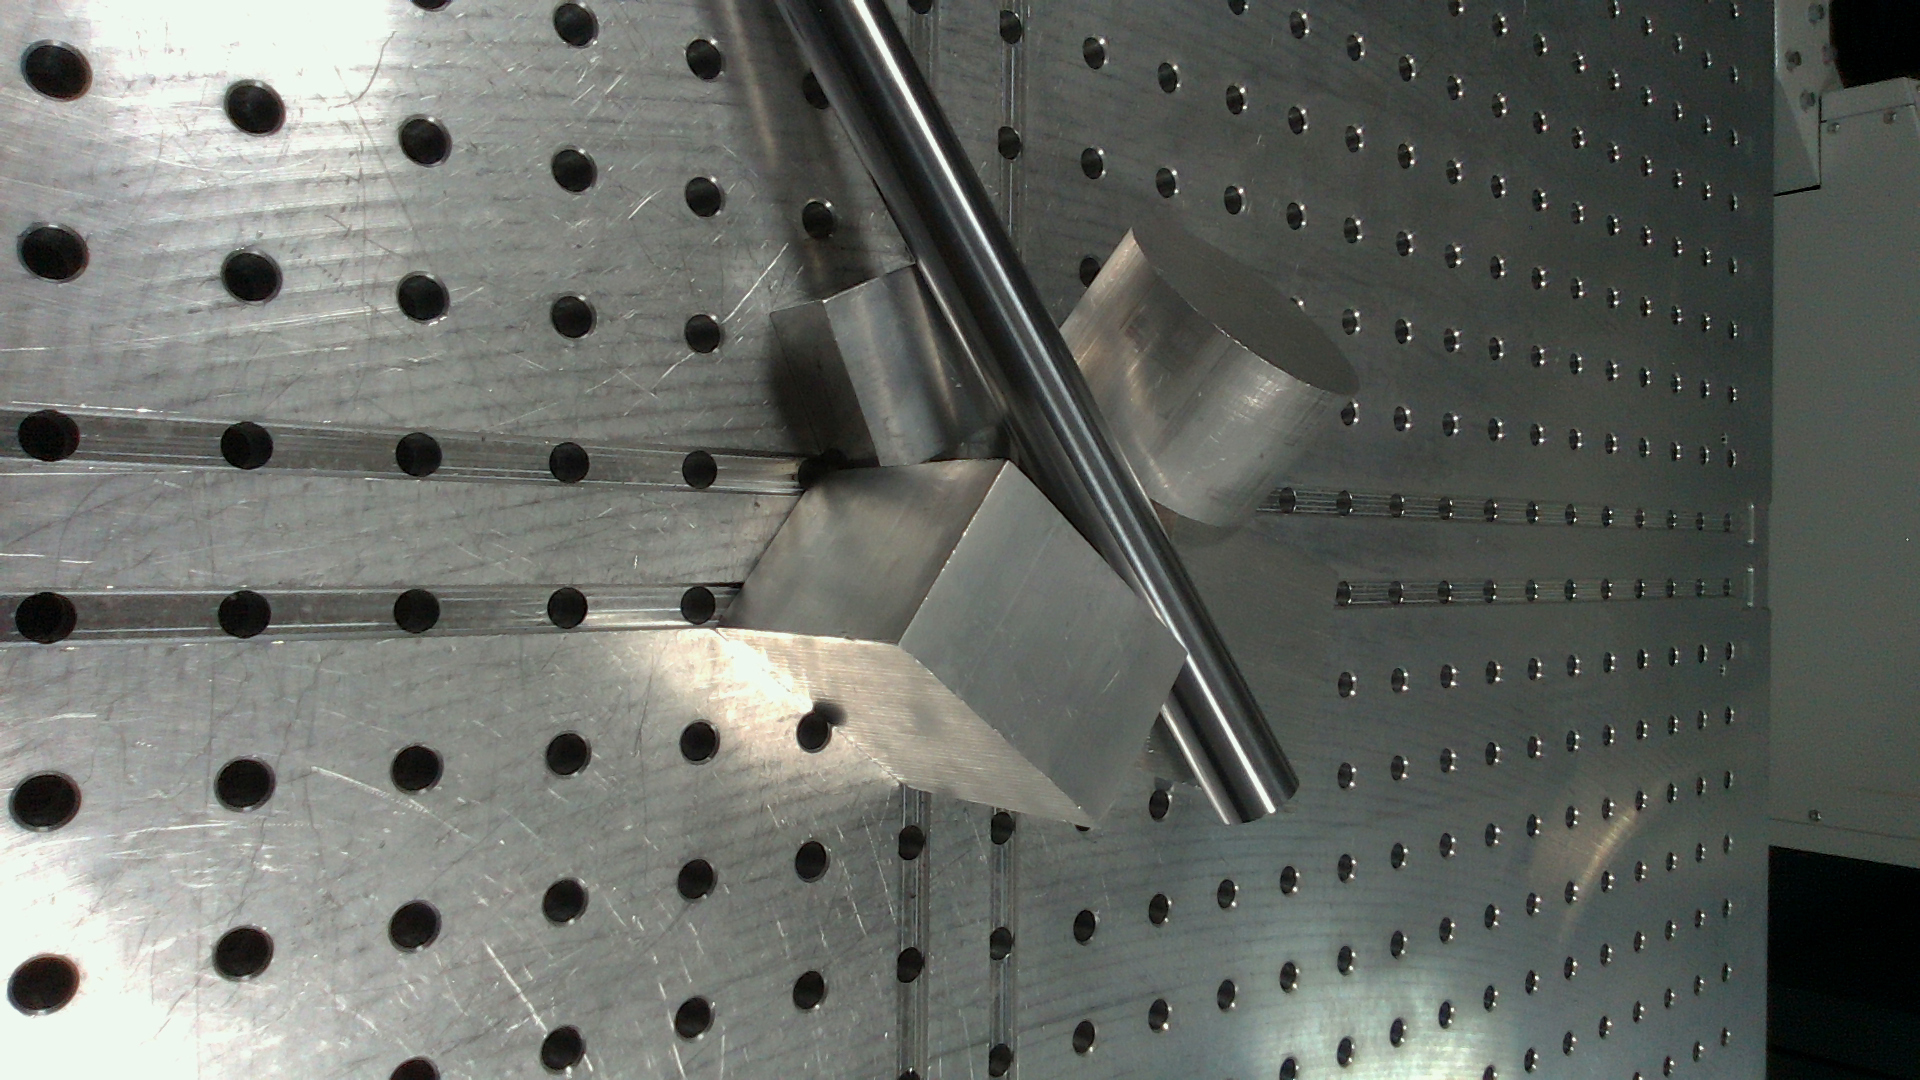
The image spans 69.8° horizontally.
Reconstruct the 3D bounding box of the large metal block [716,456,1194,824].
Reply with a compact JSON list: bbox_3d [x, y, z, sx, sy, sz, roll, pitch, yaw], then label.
[{"bbox_3d":[-0.001,0.025,0.355,0.080,0.080,0.050,45,63,-31],"label":"large metal block"}]

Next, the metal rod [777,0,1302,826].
[{"bbox_3d":[0.012,-0.057,0.362,0.025,0.025,0.300,-35,100,-34],"label":"metal rod"}]

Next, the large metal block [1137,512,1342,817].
[{"bbox_3d":[0.069,0.037,0.432,0.080,0.050,0.080,22,76,-38],"label":"large metal block"}]

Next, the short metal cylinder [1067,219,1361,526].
[{"bbox_3d":[0.070,-0.050,0.406,0.080,0.080,0.050,11,126,-39],"label":"short metal cylinder"}]

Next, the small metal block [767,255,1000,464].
[{"bbox_3d":[-0.018,-0.049,0.377,0.050,0.025,0.050,-30,109,-36],"label":"small metal block"}]
